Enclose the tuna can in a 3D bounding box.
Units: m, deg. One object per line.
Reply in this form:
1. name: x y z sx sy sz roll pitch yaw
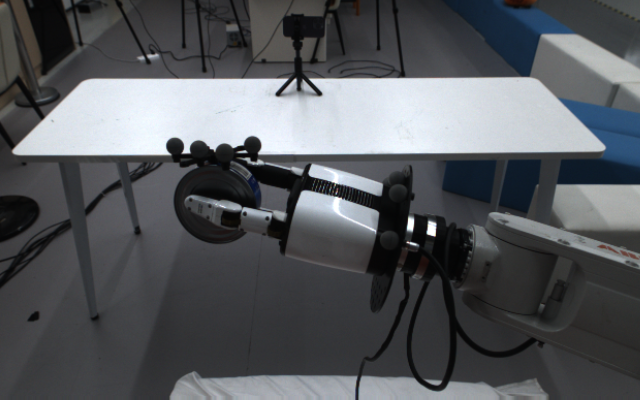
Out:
1. tuna can: -0.102 0.005 0.504 0.085 0.085 0.034 4 18 3
